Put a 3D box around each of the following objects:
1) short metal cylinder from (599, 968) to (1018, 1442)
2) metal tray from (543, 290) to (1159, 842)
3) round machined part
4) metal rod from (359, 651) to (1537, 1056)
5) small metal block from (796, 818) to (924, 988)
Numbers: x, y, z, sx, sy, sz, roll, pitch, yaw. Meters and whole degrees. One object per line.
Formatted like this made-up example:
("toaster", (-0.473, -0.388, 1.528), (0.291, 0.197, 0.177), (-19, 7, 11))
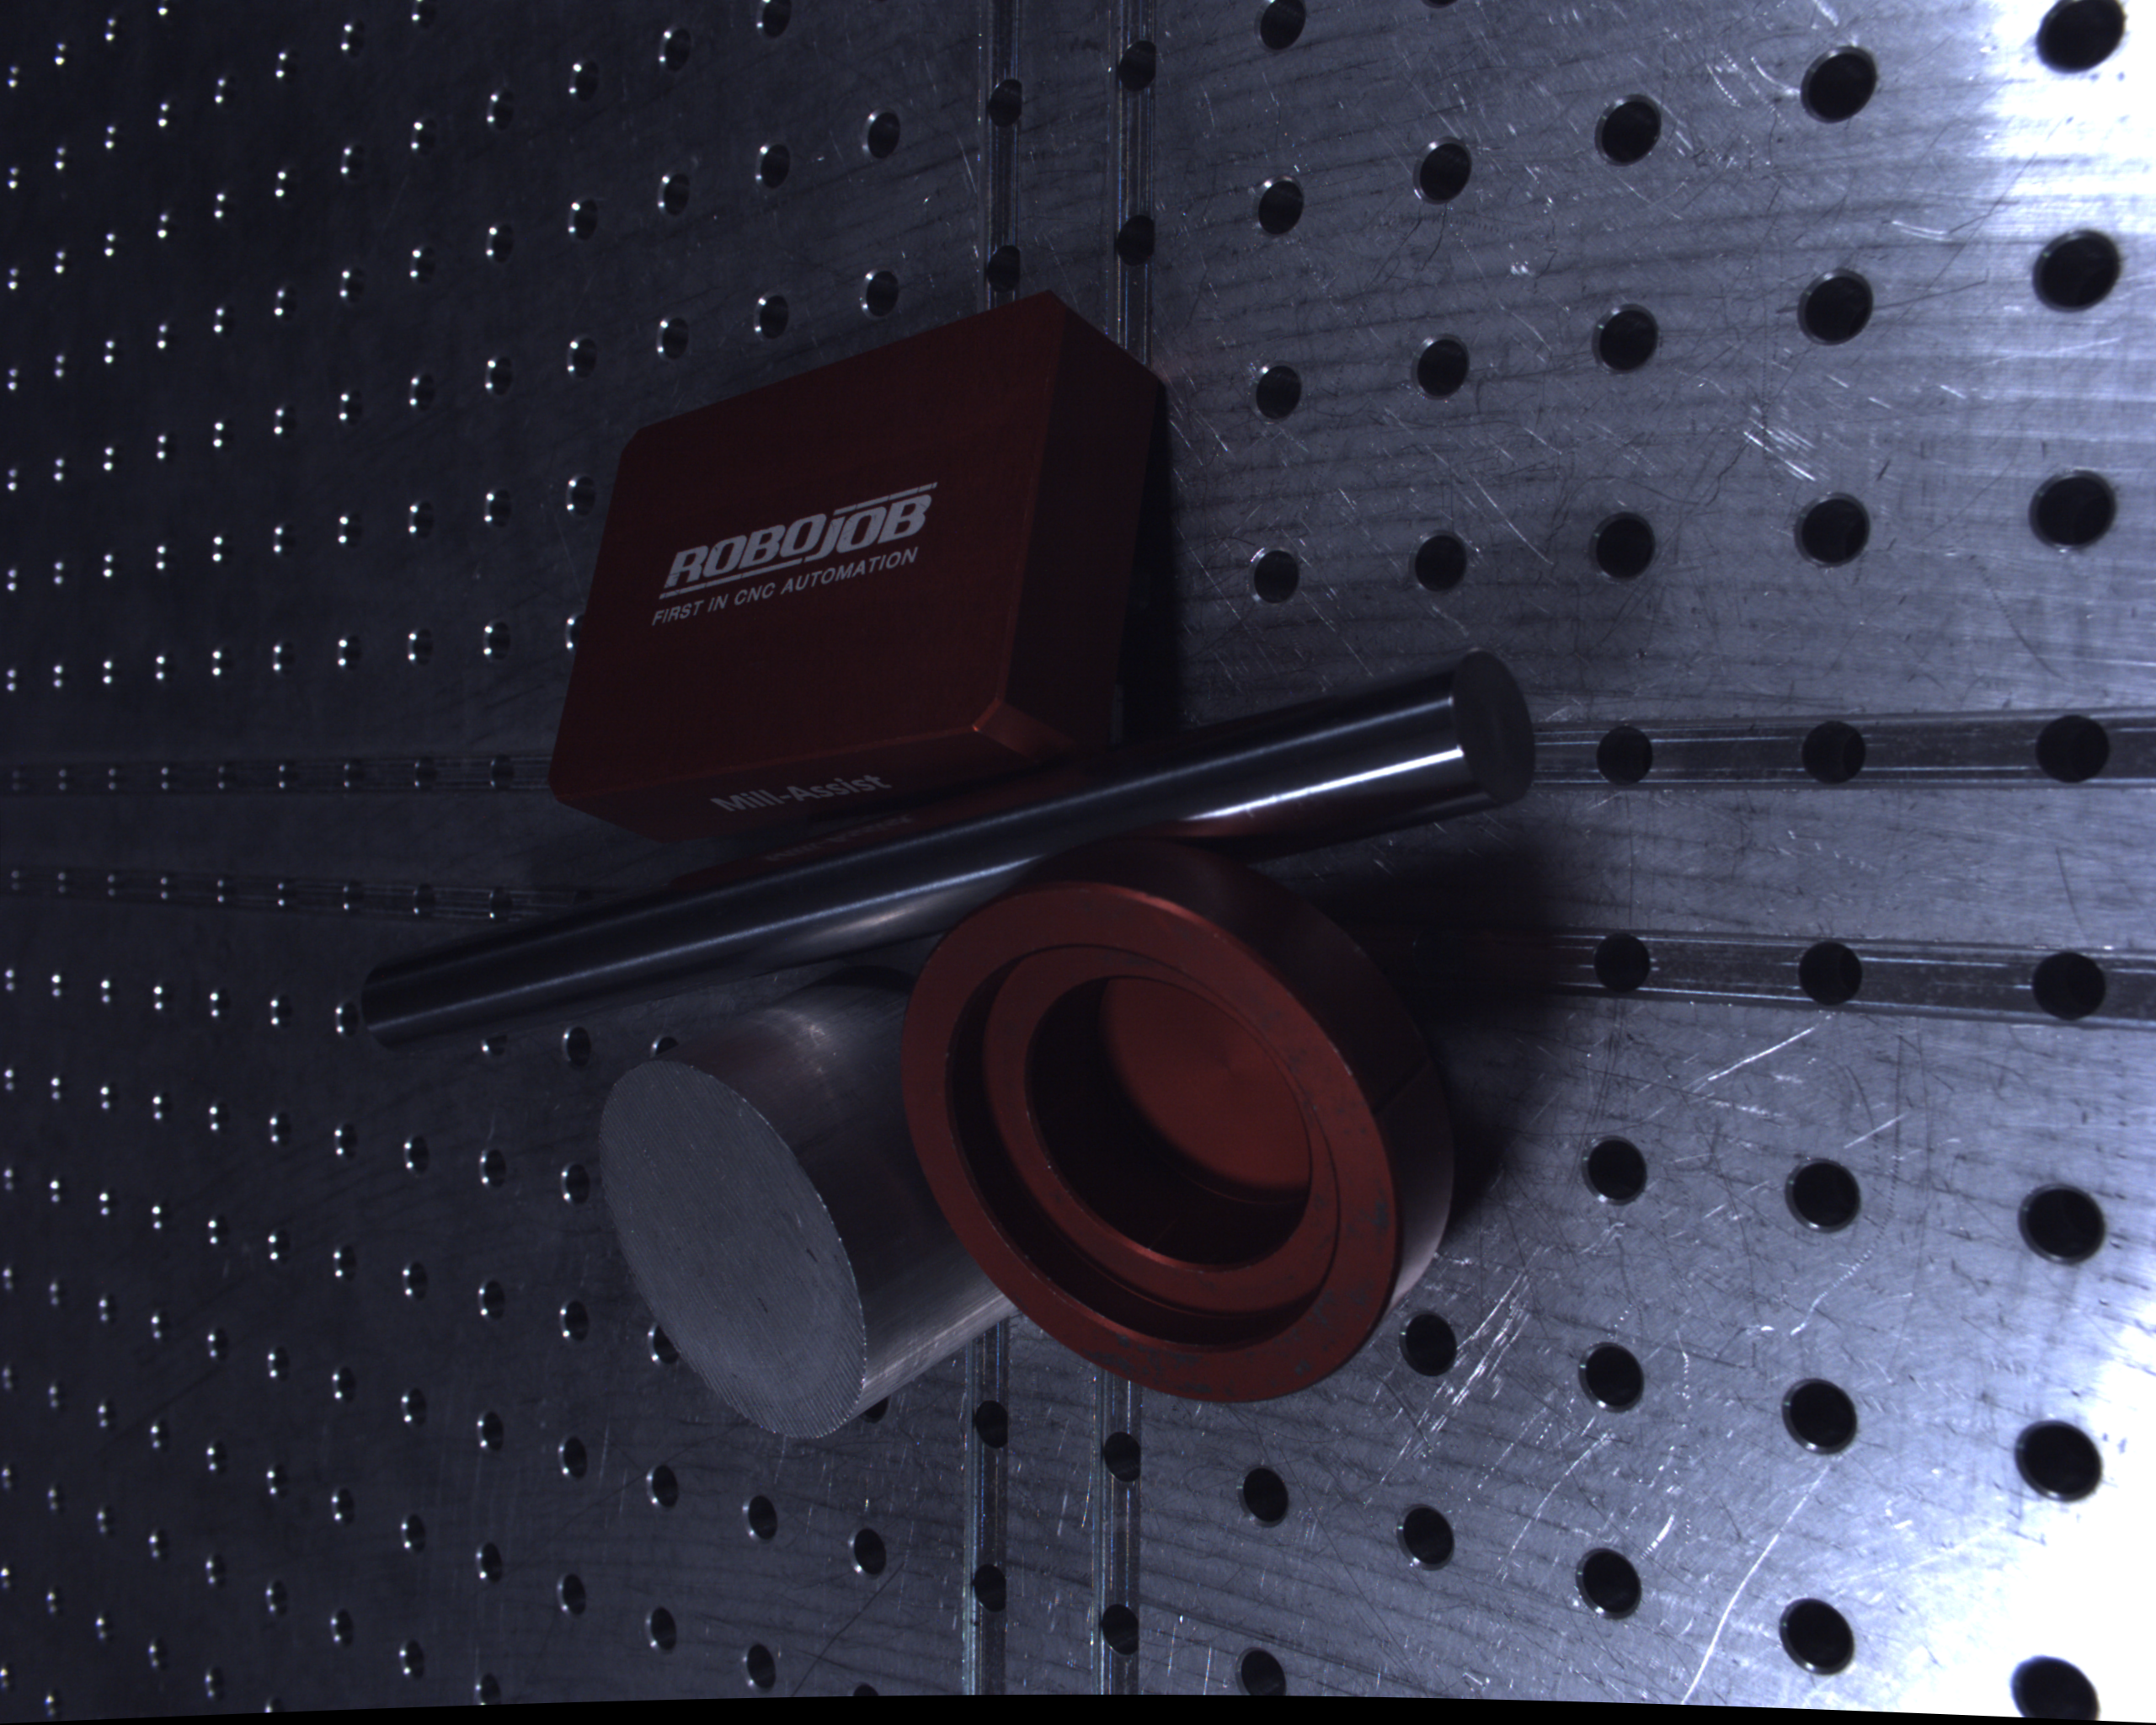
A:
("short metal cylinder", (-0.051, 0.067, 0.417), (0.080, 0.050, 0.079), (21, 122, 38))
("metal tray", (-0.049, -0.056, 0.426), (0.130, 0.030, 0.090), (-6, 67, 39))
("round machined part", (0.020, 0.041, 0.365), (0.098, 0.042, 0.097), (16, 120, 29))
("metal rod", (-0.050, 0.007, 0.414), (0.300, 0.025, 0.025), (-14, 82, 38))
("small metal block", (-0.030, 0.015, 0.443), (0.050, 0.025, 0.050), (23, 104, 37))
